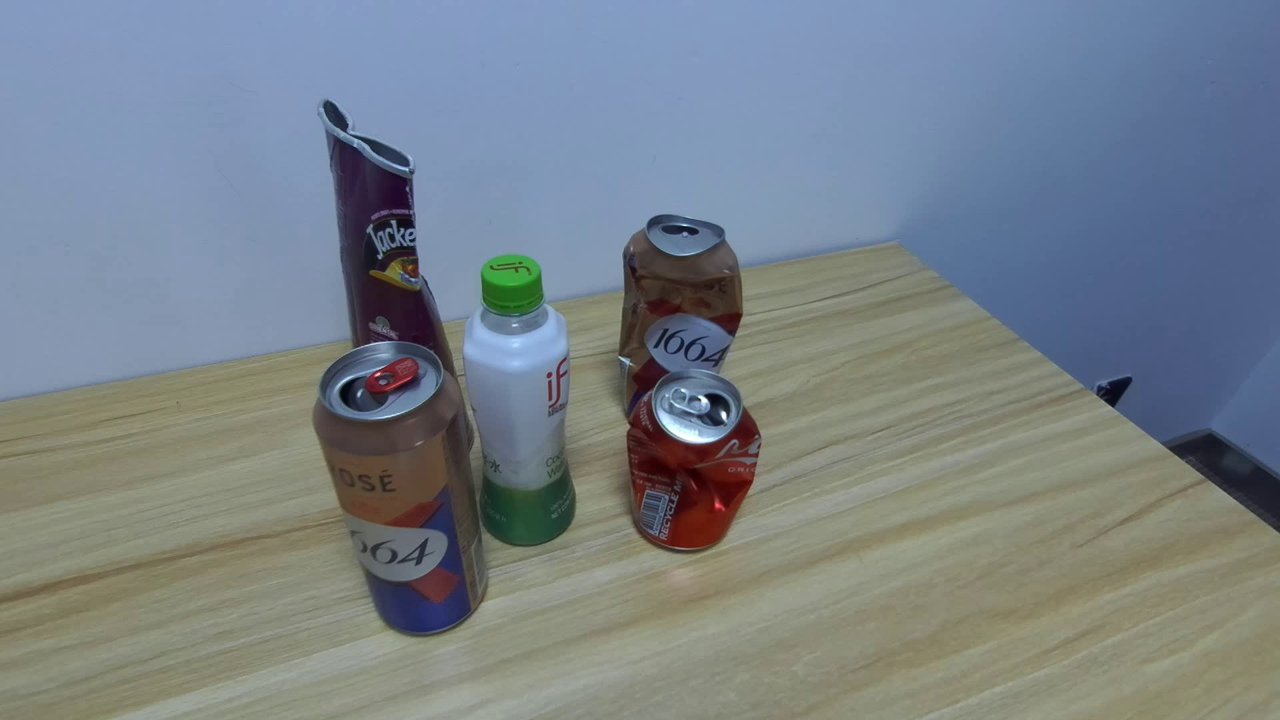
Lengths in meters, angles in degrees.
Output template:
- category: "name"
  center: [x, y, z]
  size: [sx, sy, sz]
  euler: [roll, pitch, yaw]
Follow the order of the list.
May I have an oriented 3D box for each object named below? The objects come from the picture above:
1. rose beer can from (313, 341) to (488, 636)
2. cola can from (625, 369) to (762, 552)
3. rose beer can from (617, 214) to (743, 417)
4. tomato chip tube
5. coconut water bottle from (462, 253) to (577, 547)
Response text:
- category: "rose beer can"
  center: [-0.121, 0.074, 0.374]
  size: [0.069, 0.169, 0.068]
  euler: [3, 38, -2]
- category: "cola can"
  center: [0.029, 0.063, 0.442]
  size: [0.066, 0.112, 0.069]
  euler: [-25, 48, -30]
- category: "rose beer can"
  center: [0.025, -0.020, 0.503]
  size: [0.074, 0.162, 0.068]
  euler: [-8, 38, -17]
- category: "tomato chip tube"
  center: [-0.152, -0.030, 0.444]
  size: [0.078, 0.236, 0.090]
  euler: [3, 39, 0]
- category: "coconut water bottle"
  center: [-0.070, 0.028, 0.419]
  size: [0.063, 0.189, 0.063]
  euler: [2, 38, -1]
